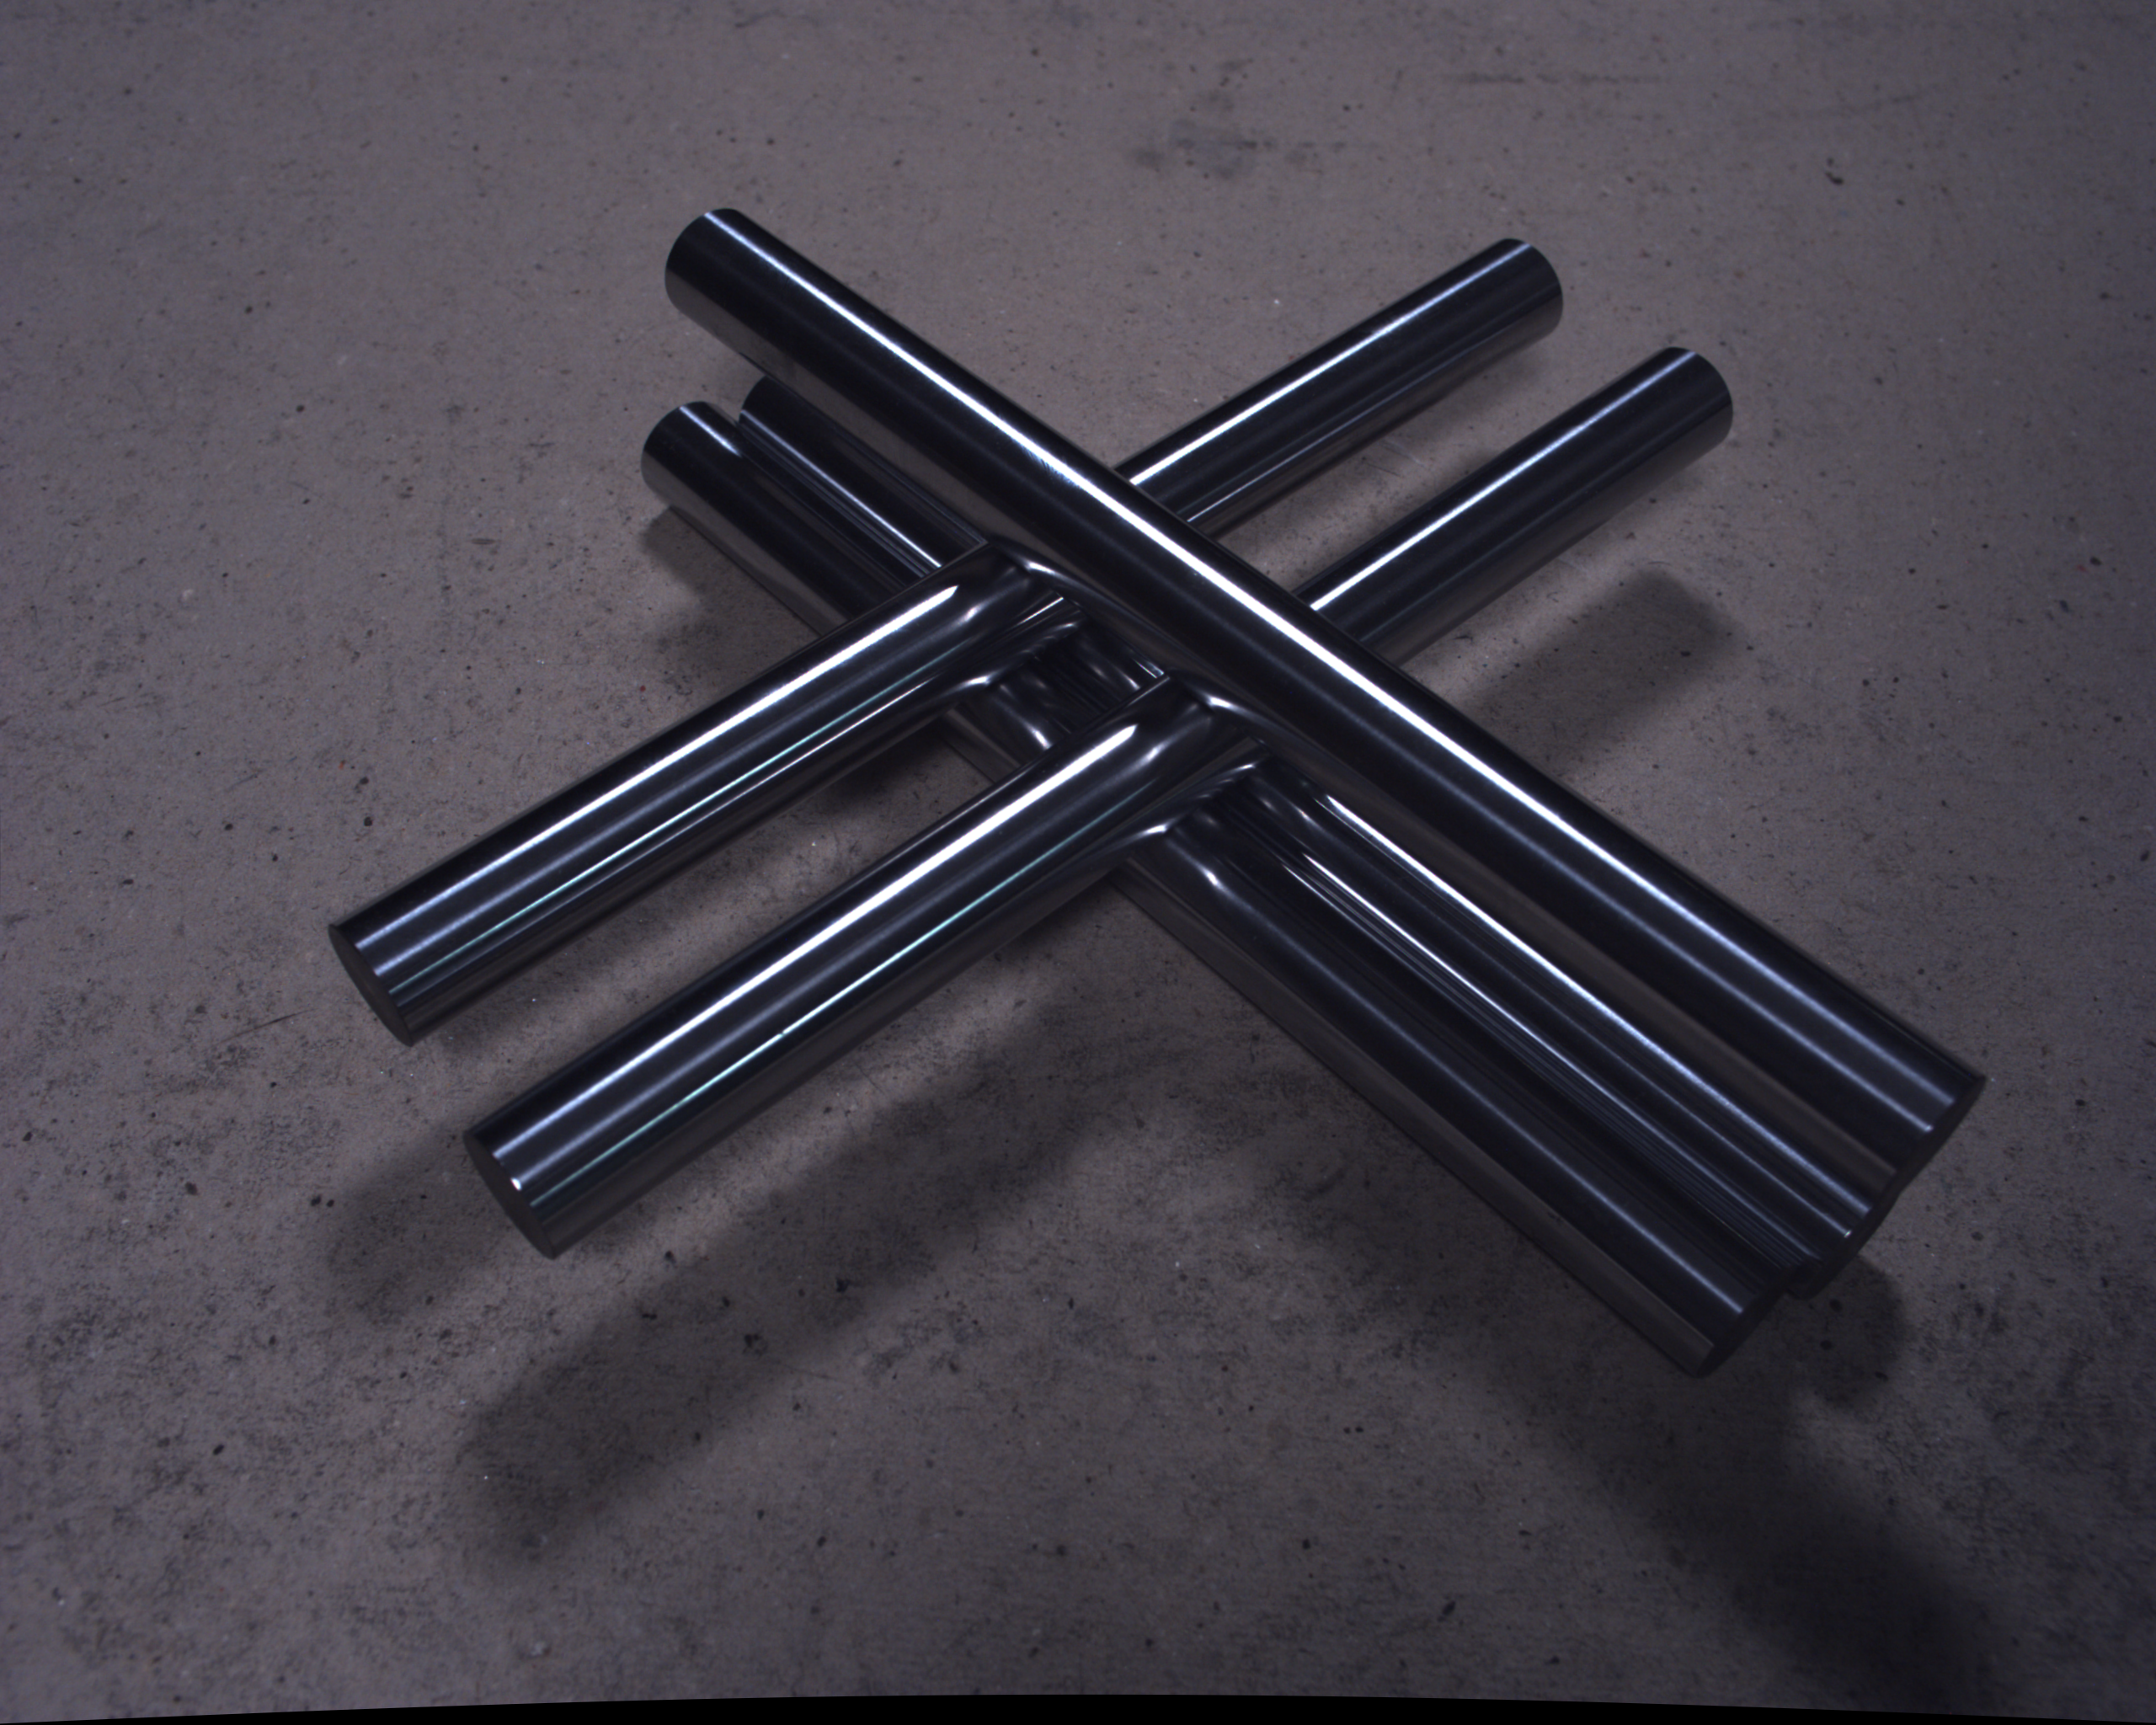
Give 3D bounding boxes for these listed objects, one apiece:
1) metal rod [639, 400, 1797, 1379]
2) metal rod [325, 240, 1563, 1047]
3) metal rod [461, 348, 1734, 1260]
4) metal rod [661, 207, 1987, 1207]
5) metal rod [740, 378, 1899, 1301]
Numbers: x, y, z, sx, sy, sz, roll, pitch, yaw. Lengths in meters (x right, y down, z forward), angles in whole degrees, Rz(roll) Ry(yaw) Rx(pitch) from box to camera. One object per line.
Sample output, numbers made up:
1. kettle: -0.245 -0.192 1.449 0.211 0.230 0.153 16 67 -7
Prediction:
1. metal rod: 0.009 -0.010 0.413 0.025 0.025 0.300 -35 58 -26
2. metal rod: -0.009 -0.056 0.419 0.302 0.025 0.025 -35 58 -26
3. metal rod: 0.022 -0.025 0.393 0.302 0.025 0.025 -35 58 -26
4. metal rod: 0.024 -0.044 0.376 0.025 0.025 0.300 -35 59 -26
5. metal rod: 0.030 -0.021 0.423 0.025 0.025 0.300 -35 58 -26
